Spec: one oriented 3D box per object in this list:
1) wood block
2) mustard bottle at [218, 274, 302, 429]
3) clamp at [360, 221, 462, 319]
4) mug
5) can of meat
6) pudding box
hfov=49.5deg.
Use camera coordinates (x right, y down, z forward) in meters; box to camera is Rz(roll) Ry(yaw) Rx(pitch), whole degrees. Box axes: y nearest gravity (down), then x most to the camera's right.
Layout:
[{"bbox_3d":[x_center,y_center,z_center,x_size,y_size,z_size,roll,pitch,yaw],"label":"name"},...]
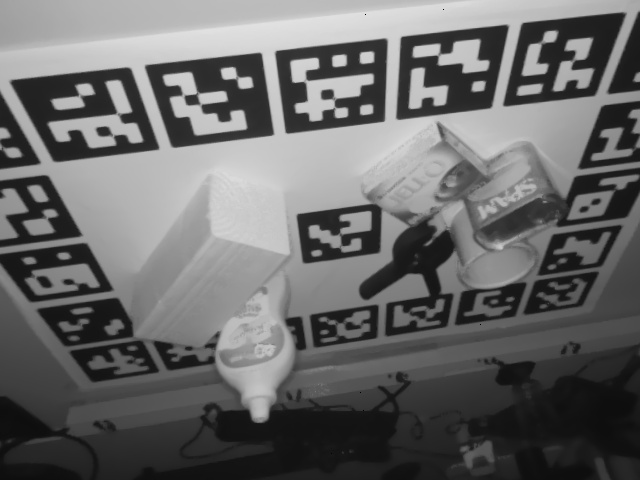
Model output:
[{"bbox_3d":[-0.124,0.027,0.769,0.091,0.091,0.203,19,133,-32],"label":"wood block"},{"bbox_3d":[-0.071,0.131,0.814,0.096,0.192,0.058,-10,138,0],"label":"mustard bottle"},{"bbox_3d":[0.131,0.042,0.884,0.123,0.037,0.162,7,134,-17],"label":"clamp"},{"bbox_3d":[0.212,0.010,0.857,0.094,0.082,0.115,9,134,-20],"label":"mug"},{"bbox_3d":[0.222,-0.040,0.759,0.101,0.084,0.058,-27,135,19],"label":"can of meat"},{"bbox_3d":[0.120,-0.063,0.753,0.112,0.039,0.091,-34,134,27],"label":"pudding box"}]
